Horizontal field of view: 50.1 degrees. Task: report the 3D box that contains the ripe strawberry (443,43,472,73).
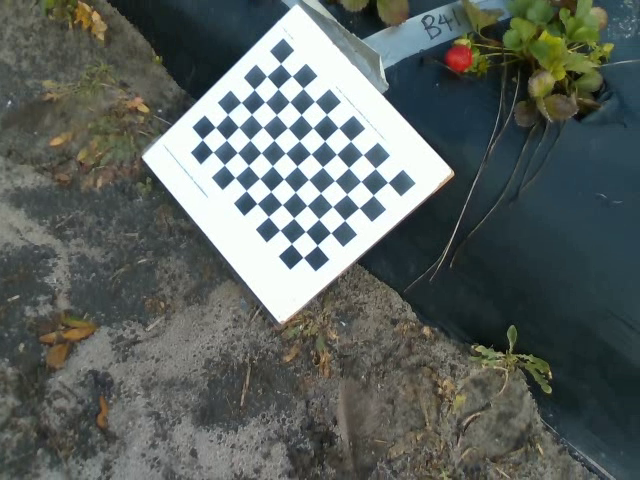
[{"bbox_3d":[0.157,-0.204,0.770,0.047,0.038,0.030,-16,-16,-43],"label":"ripe strawberry"}]
